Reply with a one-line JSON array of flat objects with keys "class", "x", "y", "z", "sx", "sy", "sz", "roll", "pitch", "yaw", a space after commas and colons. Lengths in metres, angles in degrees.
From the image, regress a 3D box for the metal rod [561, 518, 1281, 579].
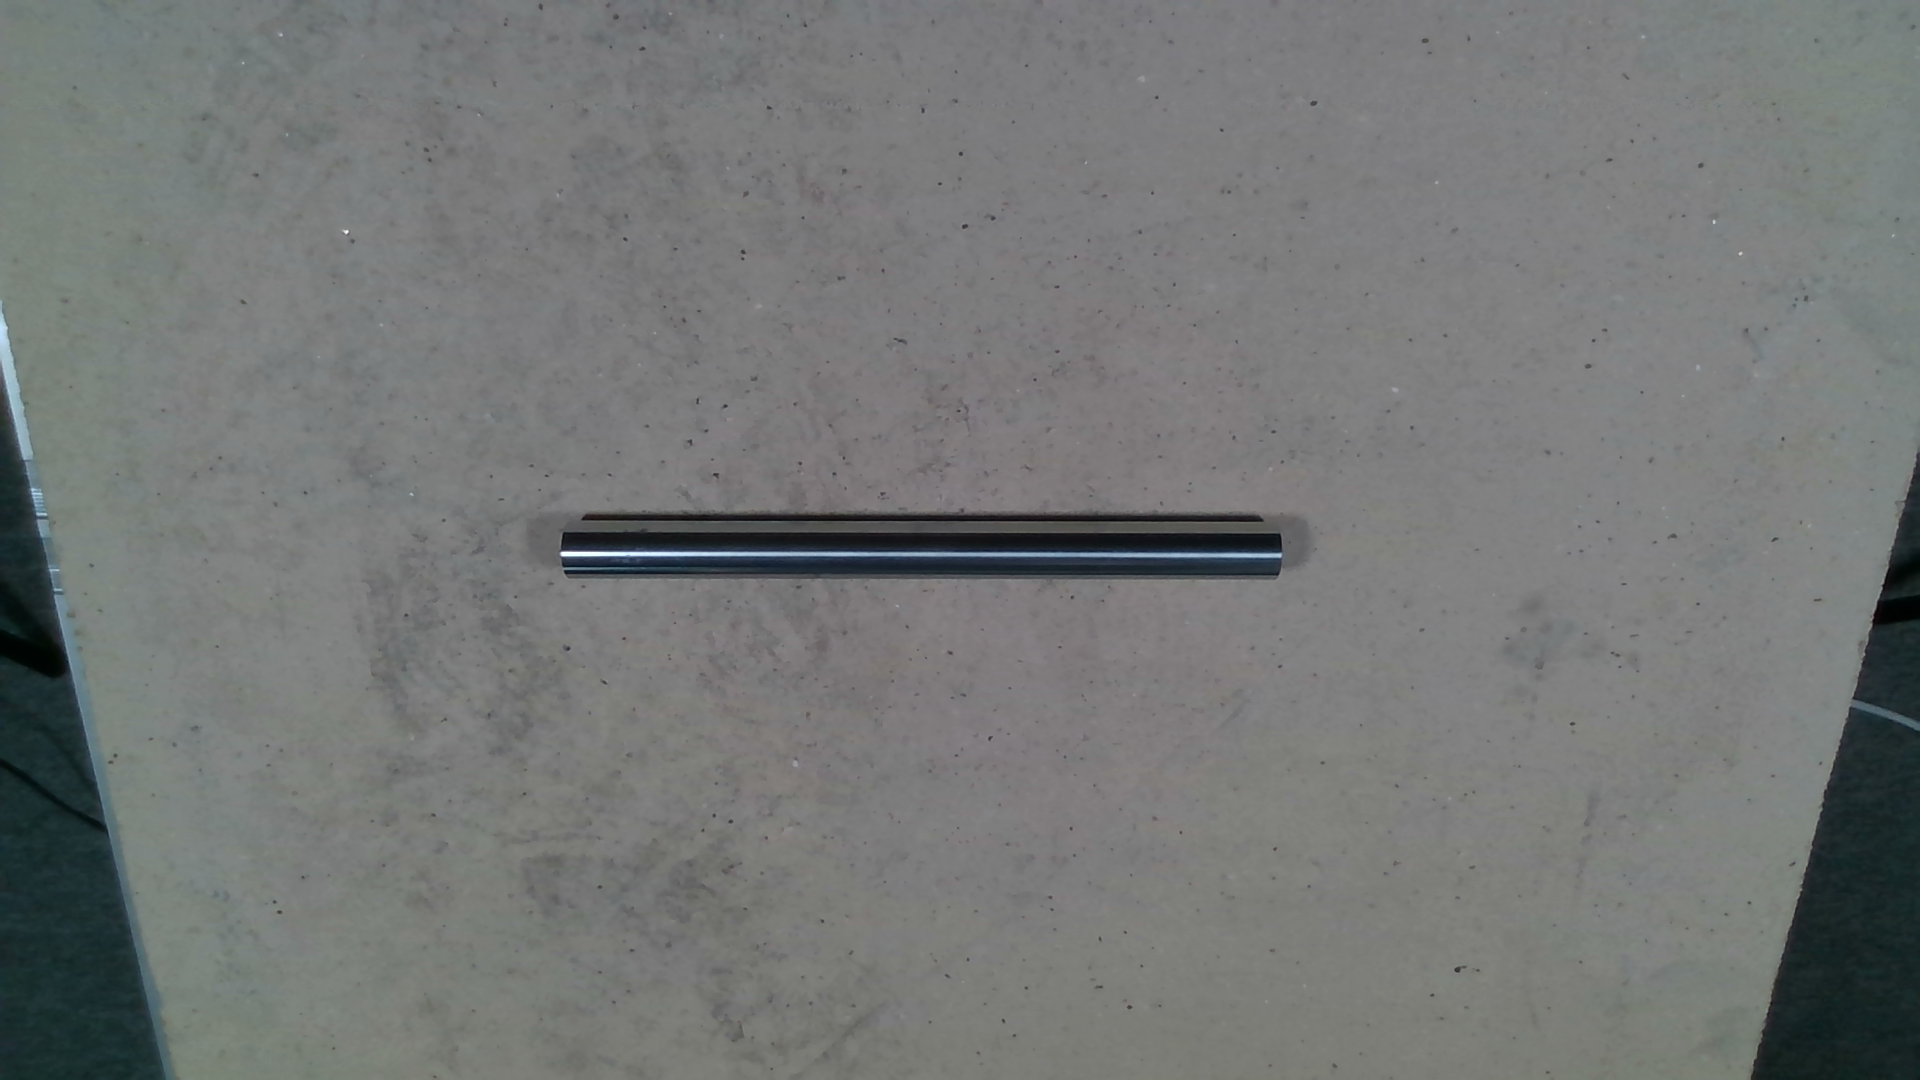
[{"class": "metal rod", "x": -0.016, "y": 0.004, "z": 0.586, "sx": 0.300, "sy": 0.025, "sz": 0.025, "roll": 0, "pitch": 110, "yaw": 0}]
